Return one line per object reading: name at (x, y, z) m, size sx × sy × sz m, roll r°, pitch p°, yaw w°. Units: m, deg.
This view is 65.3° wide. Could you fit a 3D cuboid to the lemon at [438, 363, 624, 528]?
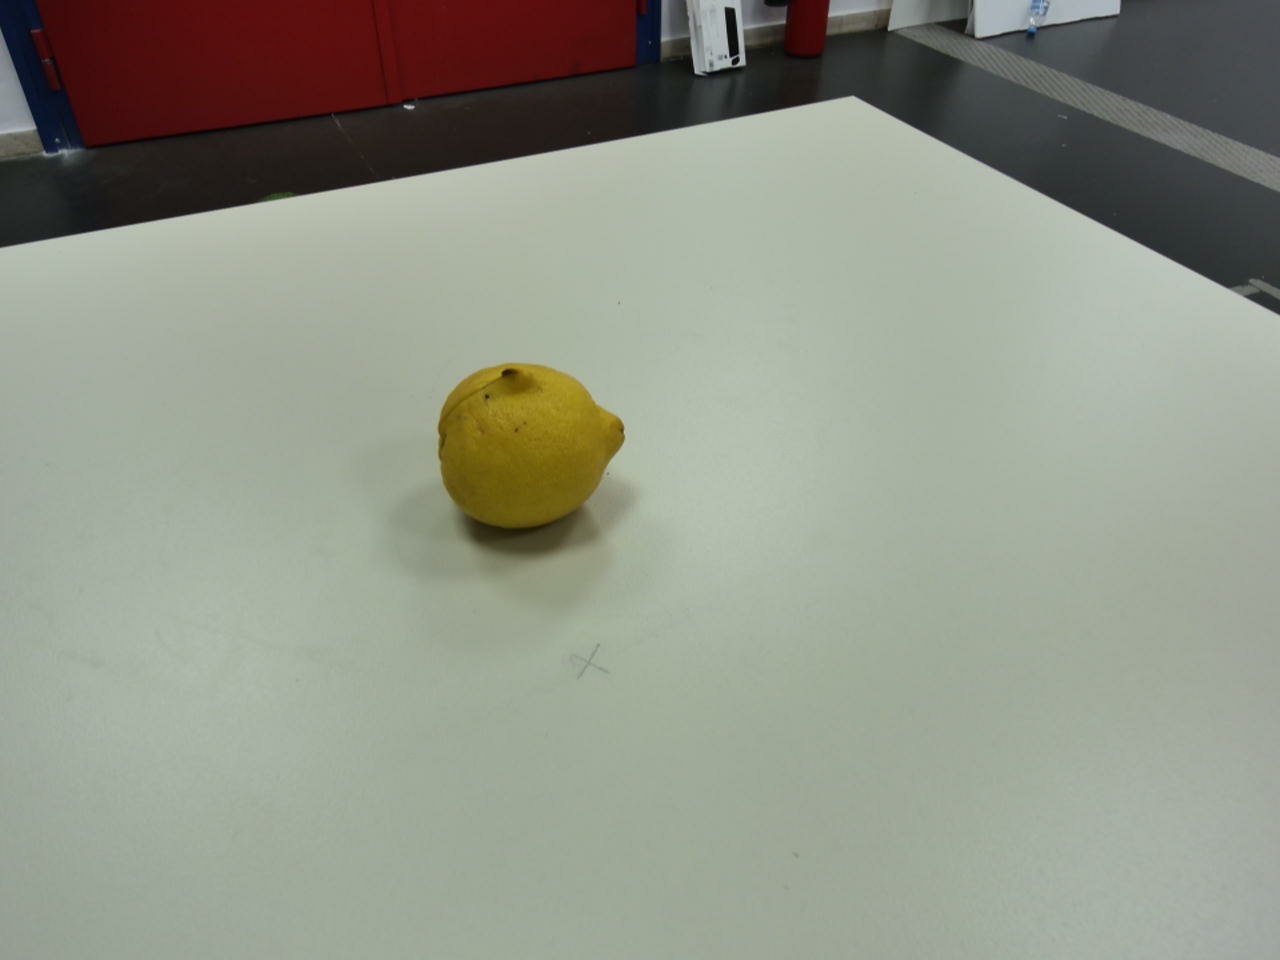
lemon at (-0.049, -0.017, 0.412) m, size 0.071 × 0.071 × 0.070 m, roll 20°, pitch 41°, yaw 22°
